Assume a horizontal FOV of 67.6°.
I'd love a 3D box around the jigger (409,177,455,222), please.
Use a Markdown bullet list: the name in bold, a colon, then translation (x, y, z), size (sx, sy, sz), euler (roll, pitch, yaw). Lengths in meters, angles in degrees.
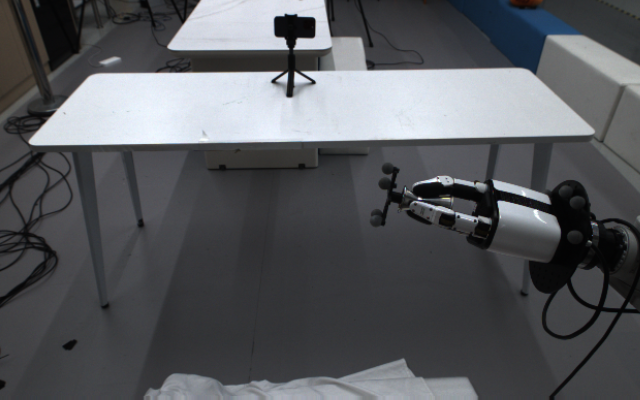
- **jigger**: translation (0.153, 0.003, 0.677), size (0.071, 0.043, 0.043), euler (14, 36, 4)
